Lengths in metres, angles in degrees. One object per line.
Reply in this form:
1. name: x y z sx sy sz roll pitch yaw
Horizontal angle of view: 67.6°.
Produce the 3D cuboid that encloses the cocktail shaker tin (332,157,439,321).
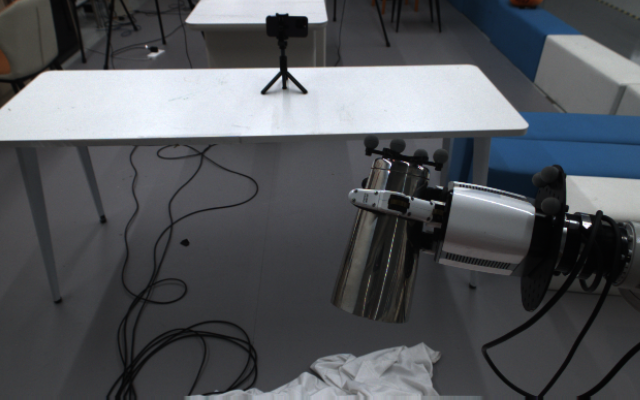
1. cocktail shaker tin: 0.079 0.040 0.554 0.093 0.170 0.093 13 1 0
